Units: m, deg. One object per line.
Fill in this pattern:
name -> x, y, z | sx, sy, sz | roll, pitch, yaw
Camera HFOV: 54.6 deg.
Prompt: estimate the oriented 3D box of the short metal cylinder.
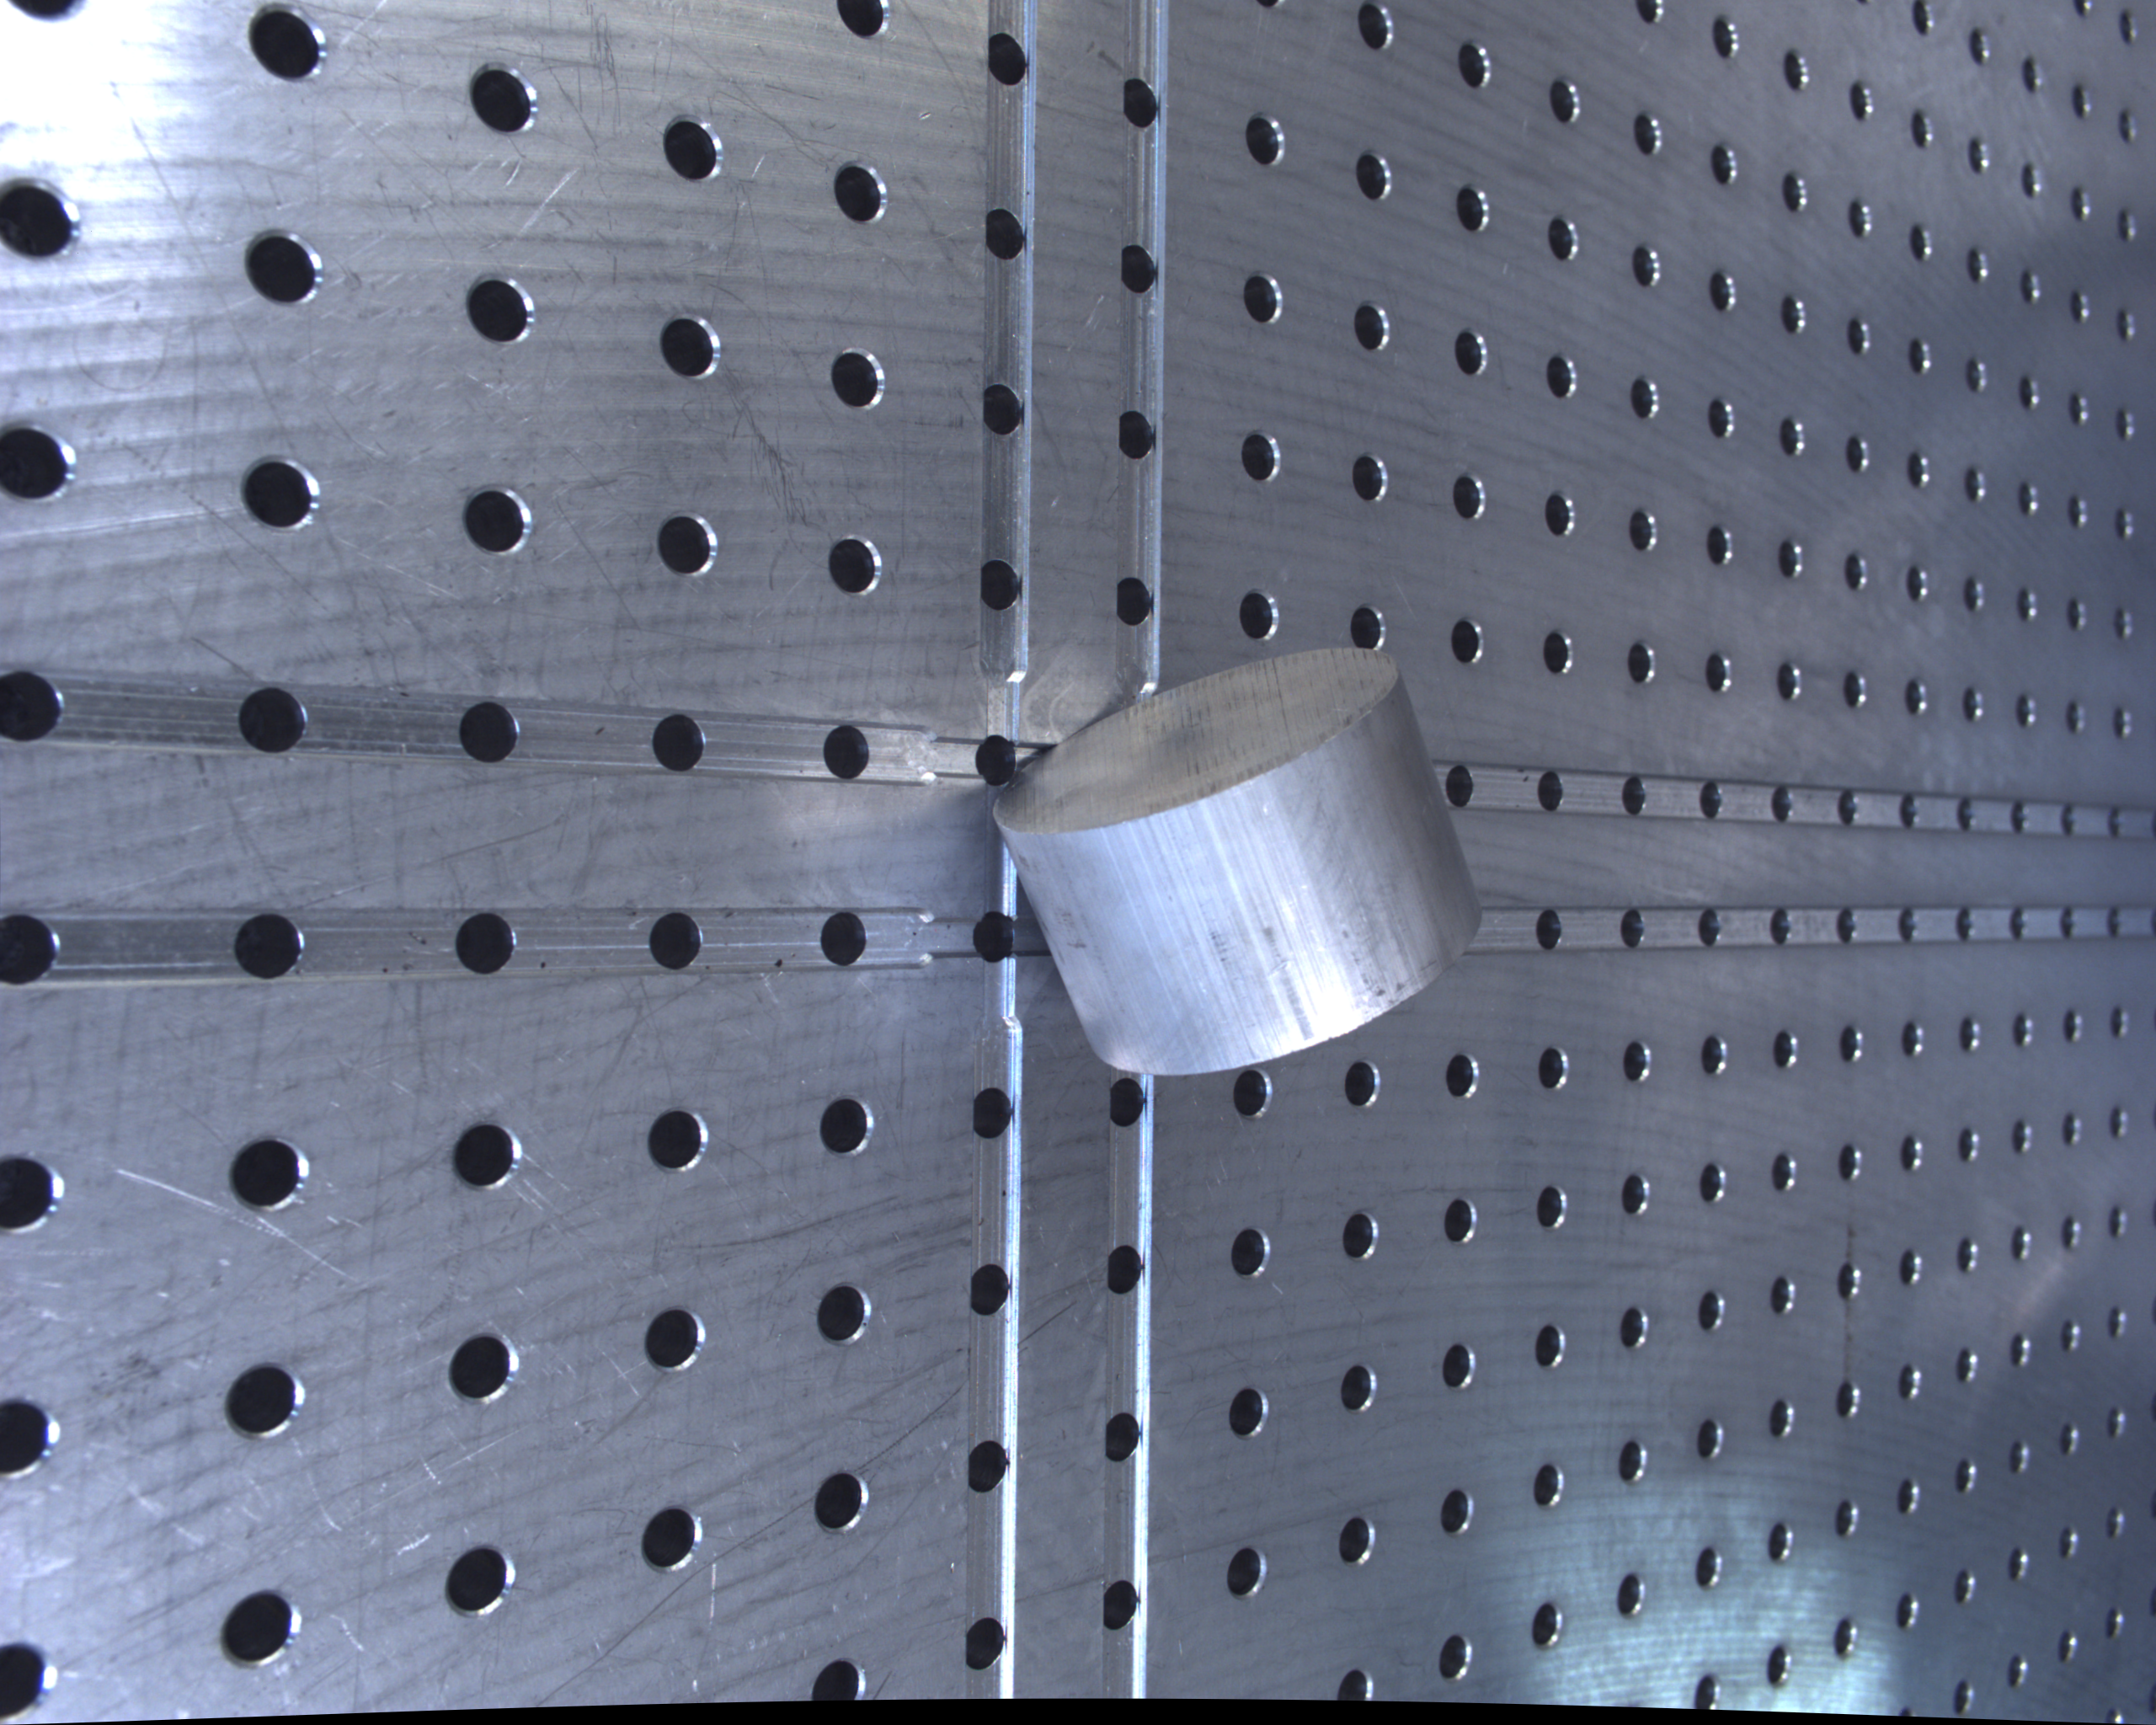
short metal cylinder -> 0.031, -0.002, 0.397 | 0.080, 0.080, 0.050 | -35, 111, -34
